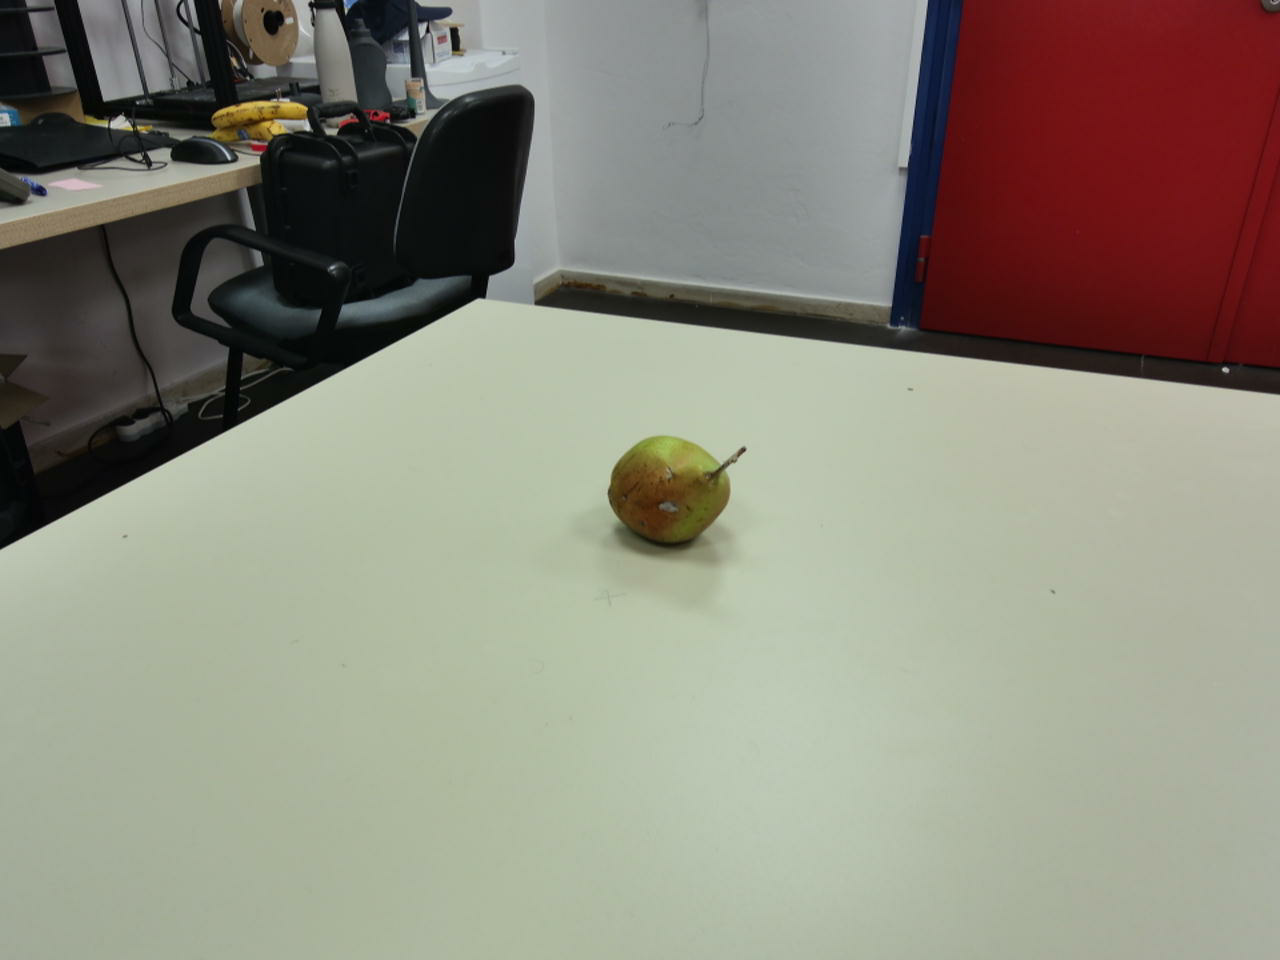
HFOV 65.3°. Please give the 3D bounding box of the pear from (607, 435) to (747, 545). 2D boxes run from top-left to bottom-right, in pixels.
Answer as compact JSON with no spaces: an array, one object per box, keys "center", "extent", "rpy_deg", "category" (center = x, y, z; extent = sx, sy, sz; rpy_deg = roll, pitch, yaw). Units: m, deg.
[{"center":[0.017,0.003,0.586],"extent":[0.068,0.069,0.070],"rpy_deg":[-6,26,-13],"category":"pear"}]
